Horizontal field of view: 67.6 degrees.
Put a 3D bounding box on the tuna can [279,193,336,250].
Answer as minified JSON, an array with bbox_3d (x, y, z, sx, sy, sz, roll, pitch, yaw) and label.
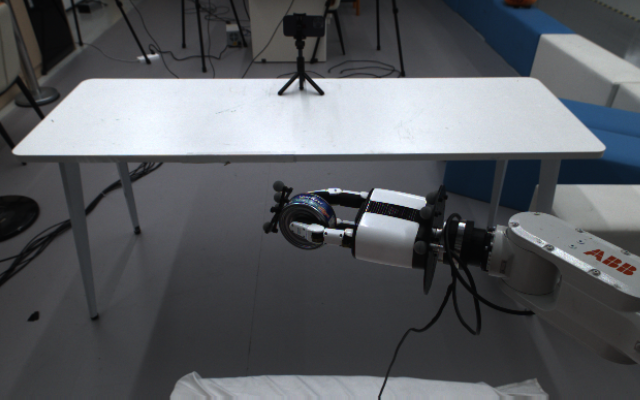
[{"bbox_3d":[-0.017,0.035,0.743,0.085,0.085,0.034,11,30,13],"label":"tuna can"}]
